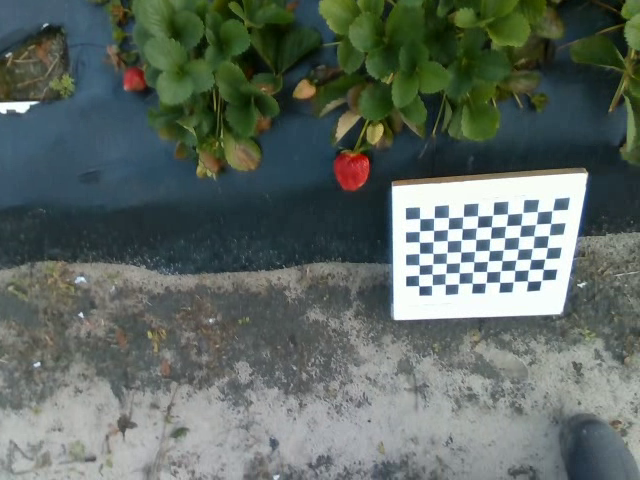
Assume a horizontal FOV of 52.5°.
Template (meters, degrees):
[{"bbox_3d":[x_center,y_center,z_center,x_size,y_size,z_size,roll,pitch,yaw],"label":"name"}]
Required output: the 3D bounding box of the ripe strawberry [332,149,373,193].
[{"bbox_3d":[0.053,-0.116,1.080,0.067,0.075,0.039,2,32,5],"label":"ripe strawberry"}]
